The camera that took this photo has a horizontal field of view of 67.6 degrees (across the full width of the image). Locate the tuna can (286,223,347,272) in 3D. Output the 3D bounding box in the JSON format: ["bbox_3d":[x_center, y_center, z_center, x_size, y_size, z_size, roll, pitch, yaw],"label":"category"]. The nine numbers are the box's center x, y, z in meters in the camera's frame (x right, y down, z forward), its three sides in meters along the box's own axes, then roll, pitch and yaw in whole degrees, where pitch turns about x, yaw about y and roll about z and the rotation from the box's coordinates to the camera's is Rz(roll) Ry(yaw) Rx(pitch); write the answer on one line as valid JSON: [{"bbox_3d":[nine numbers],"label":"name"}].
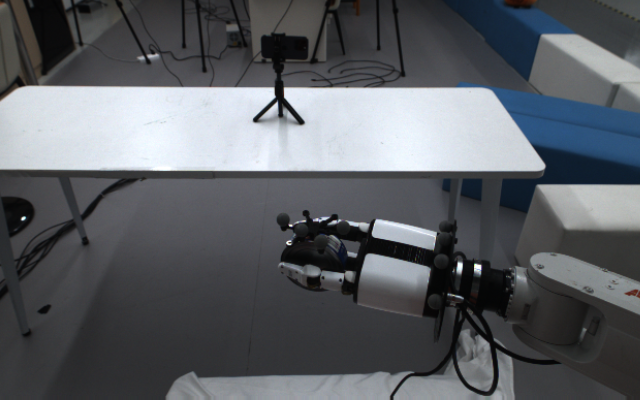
[{"bbox_3d":[-0.005,0.078,0.645,0.085,0.085,0.034,10,34,12],"label":"tuna can"}]
